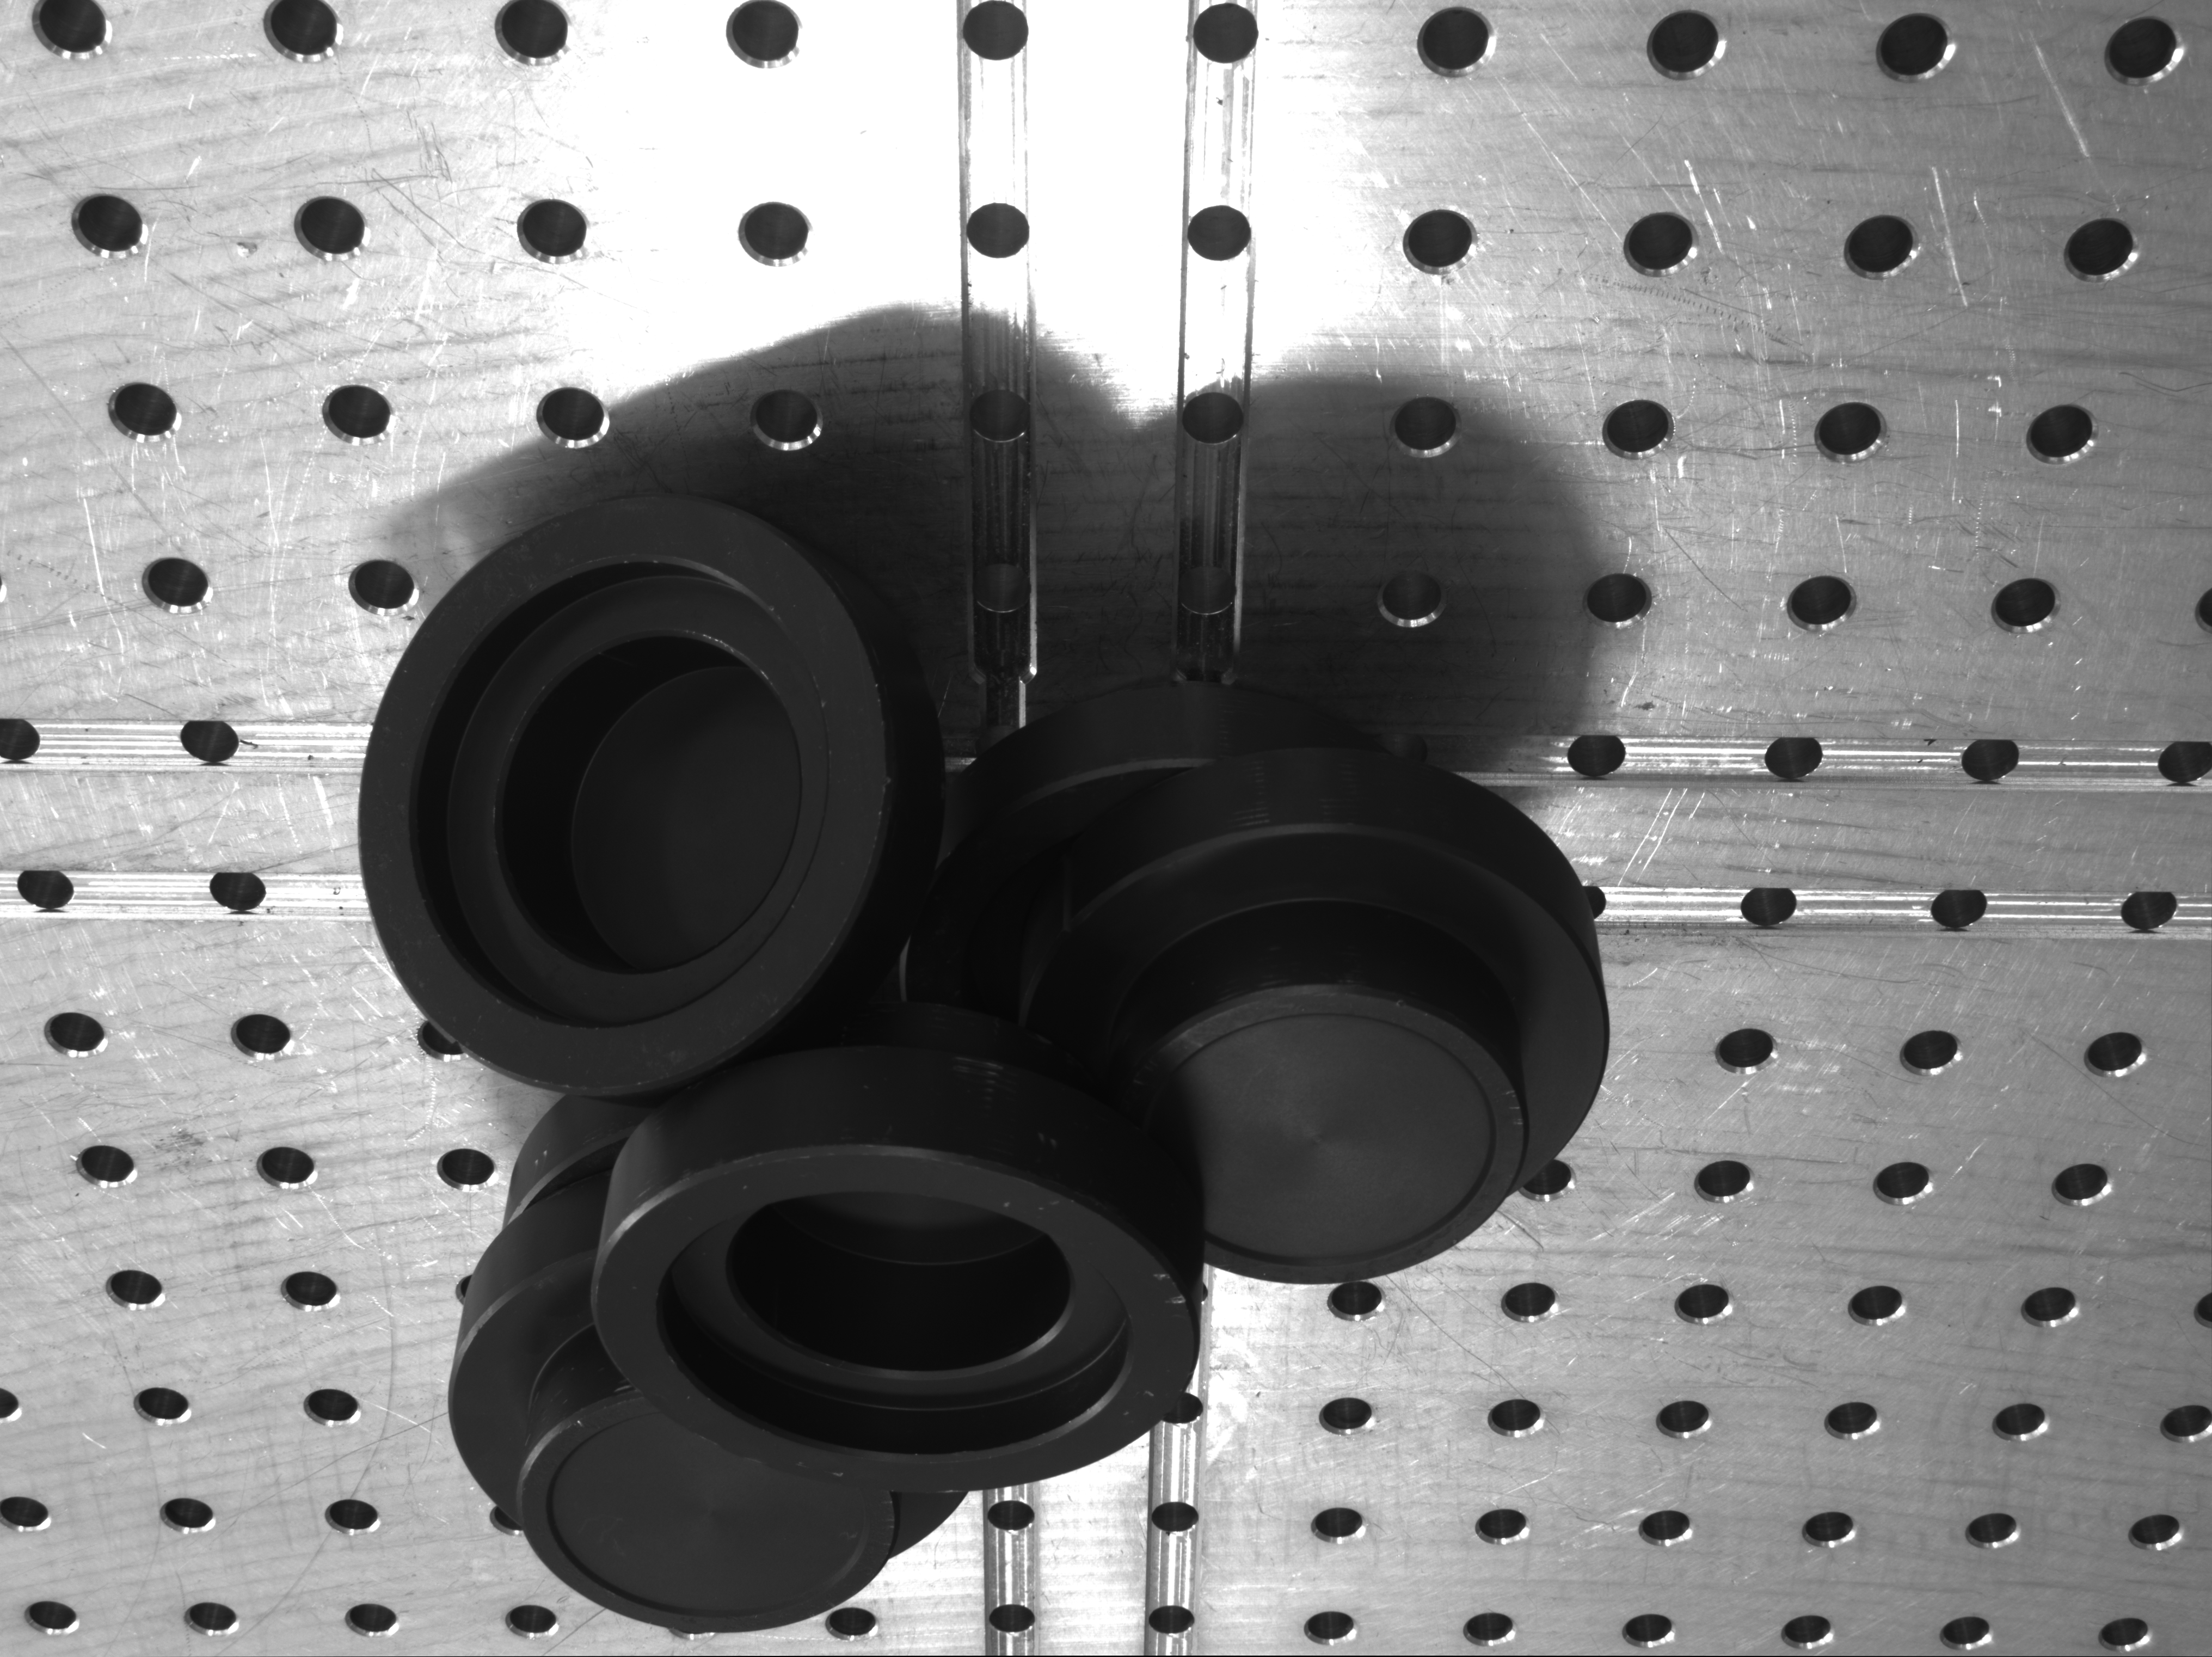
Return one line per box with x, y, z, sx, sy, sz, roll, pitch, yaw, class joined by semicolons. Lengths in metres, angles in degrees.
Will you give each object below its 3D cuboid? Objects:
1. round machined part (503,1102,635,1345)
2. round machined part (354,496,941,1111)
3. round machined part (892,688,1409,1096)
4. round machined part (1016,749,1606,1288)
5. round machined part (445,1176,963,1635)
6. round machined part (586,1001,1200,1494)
-0.064;0.088;0.678;0.098;0.042;0.098;0;130;0;round machined part
-0.071;-0.002;0.605;0.098;0.098;0.042;-22;162;17;round machined part
0.012;0.027;0.627;0.098;0.042;0.098;0;130;0;round machined part
0.034;0.038;0.608;0.098;0.042;0.098;0;129;0;round machined part
-0.071;0.109;0.668;0.098;0.042;0.098;0;130;0;round machined part
-0.033;0.065;0.603;0.098;0.042;0.098;2;138;2;round machined part
